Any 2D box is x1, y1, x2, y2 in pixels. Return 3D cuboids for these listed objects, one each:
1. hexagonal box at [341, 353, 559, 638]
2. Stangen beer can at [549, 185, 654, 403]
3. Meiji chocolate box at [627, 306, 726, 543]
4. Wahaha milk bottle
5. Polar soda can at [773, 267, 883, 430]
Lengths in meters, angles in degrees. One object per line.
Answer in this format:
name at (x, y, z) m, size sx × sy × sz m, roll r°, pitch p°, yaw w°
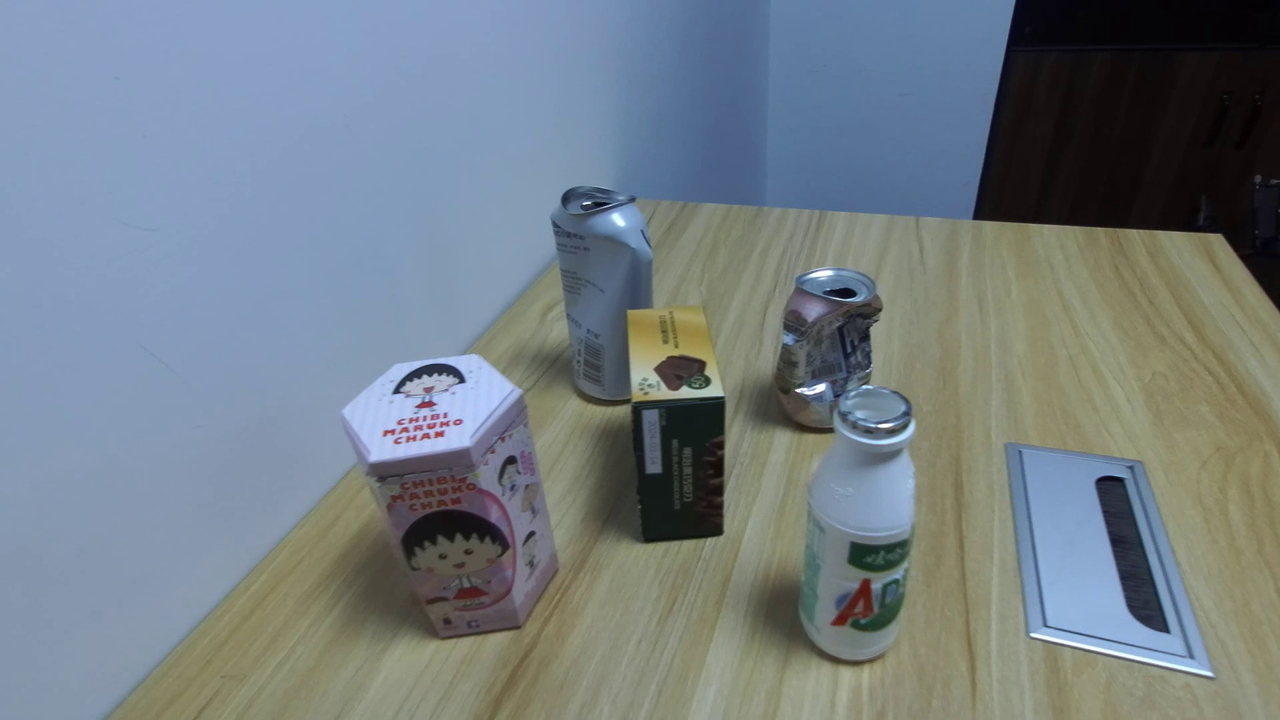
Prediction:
hexagonal box at (-0.098, 0.077, 0.384) m, size 0.091 × 0.136 × 0.083 m, roll -8°, pitch 32°, yaw -5°
Stangen beer can at (-0.025, -0.047, 0.537) m, size 0.077 × 0.162 × 0.065 m, roll -1°, pitch 35°, yaw 6°
Meiji chocolate box at (0.021, 0.038, 0.449) m, size 0.056 × 0.109 × 0.110 m, roll -4°, pitch 32°, yaw 0°
Wahaha milk bottle at (0.107, 0.085, 0.341) m, size 0.053 × 0.137 × 0.053 m, roll -4°, pitch 32°, yaw 2°
Polar soda can at (0.134, -0.008, 0.503) m, size 0.070 × 0.114 × 0.074 m, roll 5°, pitch 36°, yaw 7°
